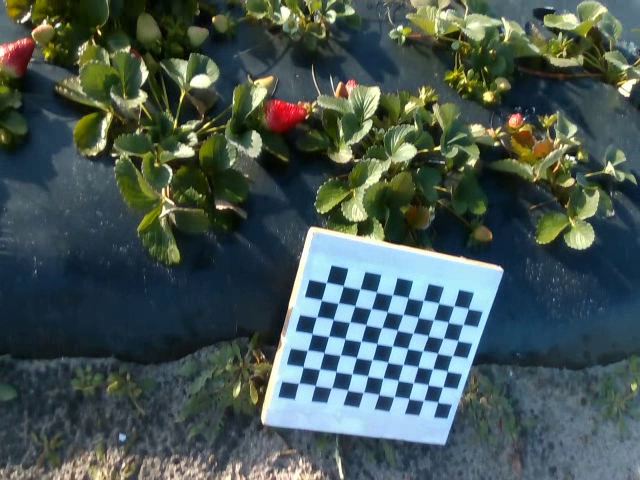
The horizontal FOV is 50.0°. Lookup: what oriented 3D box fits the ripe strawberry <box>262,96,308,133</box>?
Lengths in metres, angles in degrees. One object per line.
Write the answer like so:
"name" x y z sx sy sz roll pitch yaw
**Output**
"ripe strawberry" -0.049 -0.171 0.926 0.072 0.057 0.055 -9 22 -4
